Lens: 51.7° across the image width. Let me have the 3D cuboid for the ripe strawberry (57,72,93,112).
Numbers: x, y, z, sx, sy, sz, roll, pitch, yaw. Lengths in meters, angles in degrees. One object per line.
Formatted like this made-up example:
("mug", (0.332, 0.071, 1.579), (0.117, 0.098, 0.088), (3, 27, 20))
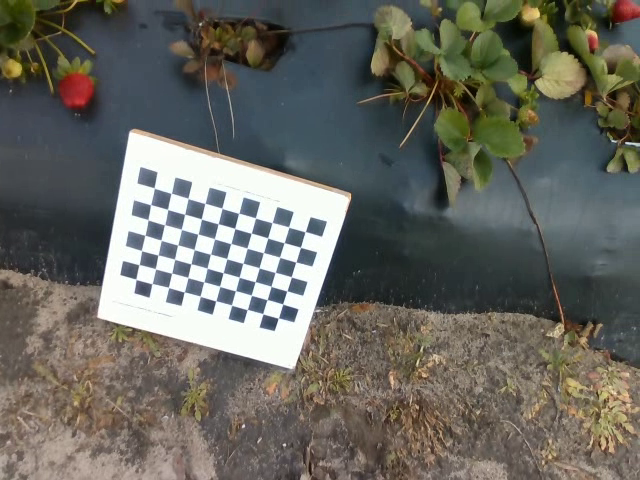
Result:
("ripe strawberry", (-0.293, -0.176, 0.787), (0.045, 0.055, 0.042), (-30, -45, 16))
